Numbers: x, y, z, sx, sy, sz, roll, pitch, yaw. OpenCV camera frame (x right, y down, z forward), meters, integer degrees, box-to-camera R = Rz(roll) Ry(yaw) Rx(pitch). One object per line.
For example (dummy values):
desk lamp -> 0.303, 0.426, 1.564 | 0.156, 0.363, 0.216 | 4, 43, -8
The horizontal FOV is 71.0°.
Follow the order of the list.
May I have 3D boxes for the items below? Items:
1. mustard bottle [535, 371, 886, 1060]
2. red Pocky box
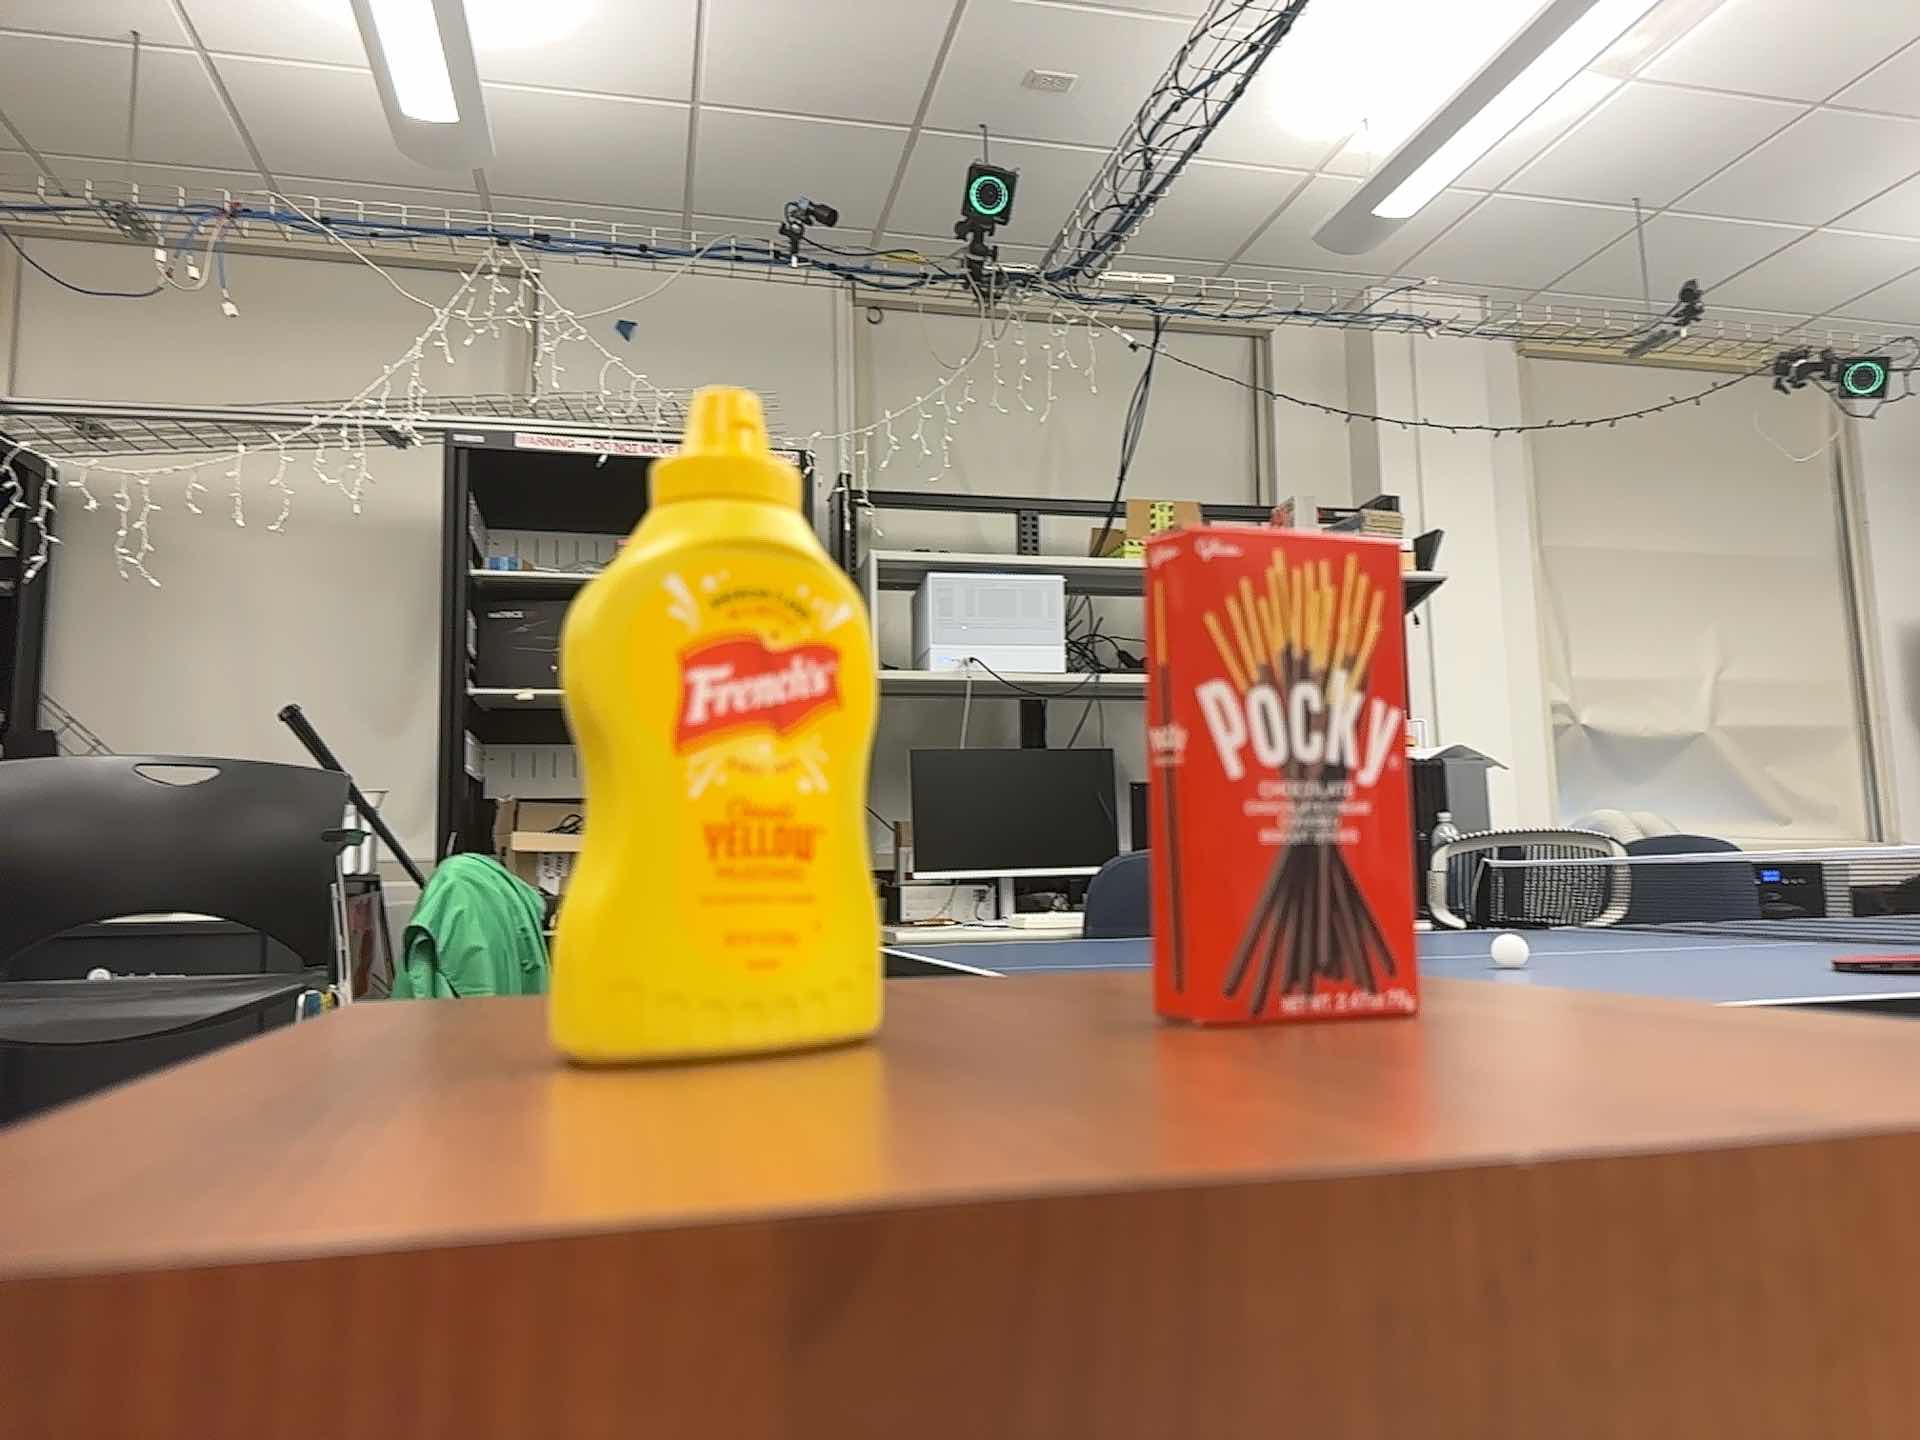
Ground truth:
mustard bottle -> -0.065, -0.005, 0.363 | 0.092, 0.184, 0.054 | 5, -10, -31
red Pocky box -> 0.099, 0.015, 0.414 | 0.083, 0.155, 0.028 | 2, -8, -18
